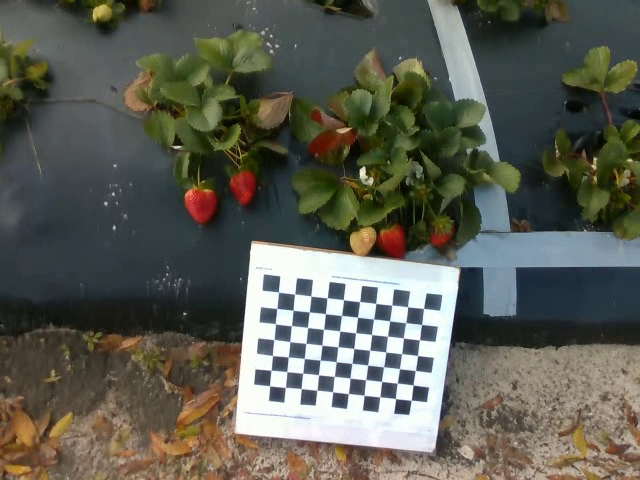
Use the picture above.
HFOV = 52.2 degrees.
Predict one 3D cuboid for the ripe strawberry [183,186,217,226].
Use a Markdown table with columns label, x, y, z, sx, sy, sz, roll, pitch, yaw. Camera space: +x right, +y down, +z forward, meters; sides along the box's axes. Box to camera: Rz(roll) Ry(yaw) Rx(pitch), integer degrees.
| label | x | y | z | sx | sy | sz | roll | pitch | yaw |
| --- | --- | --- | --- | --- | --- | --- | --- | --- | --- |
| ripe strawberry | -0.168 | -0.045 | 0.936 | 0.050 | 0.061 | 0.045 | -4 | -28 | 2 |

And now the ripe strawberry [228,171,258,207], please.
| label | x | y | z | sx | sy | sz | roll | pitch | yaw |
| --- | --- | --- | --- | --- | --- | --- | --- | --- | --- |
| ripe strawberry | -0.108 | -0.073 | 0.941 | 0.042 | 0.053 | 0.034 | -10 | -25 | 3 |
